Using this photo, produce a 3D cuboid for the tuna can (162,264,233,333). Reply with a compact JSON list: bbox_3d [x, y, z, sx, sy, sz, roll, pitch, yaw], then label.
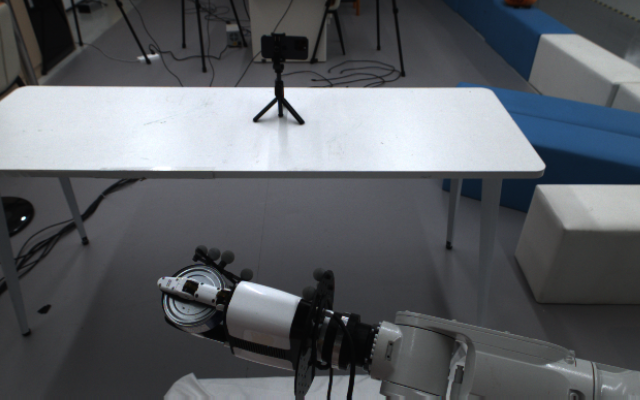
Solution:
[{"bbox_3d":[-0.159,0.129,0.637,0.085,0.034,0.085,-4,56,6],"label":"tuna can"}]
